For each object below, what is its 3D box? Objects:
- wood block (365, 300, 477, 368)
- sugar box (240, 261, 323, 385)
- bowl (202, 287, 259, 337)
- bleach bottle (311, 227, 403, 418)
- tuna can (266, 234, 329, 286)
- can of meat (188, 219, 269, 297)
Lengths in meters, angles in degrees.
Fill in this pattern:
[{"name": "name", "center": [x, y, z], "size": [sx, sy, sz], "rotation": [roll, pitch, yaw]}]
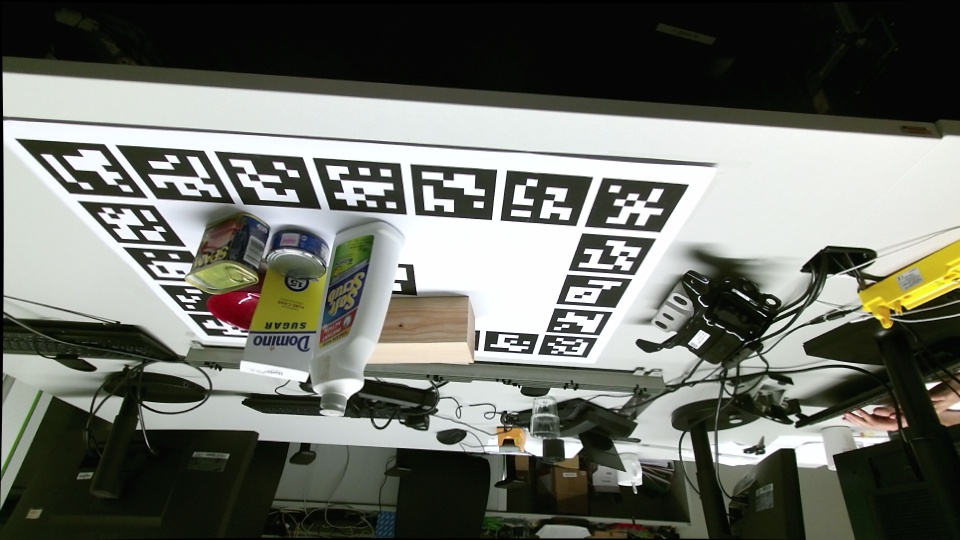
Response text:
[{"name": "wood block", "center": [-0.116, 0.113, 0.934], "size": [0.207, 0.089, 0.091], "rotation": [-1, 143, 8]}, {"name": "sugar box", "center": [-0.292, 0.077, 0.798], "size": [0.093, 0.175, 0.045], "rotation": [12, 145, -21]}, {"name": "bowl", "center": [-0.372, 0.063, 0.900], "size": [0.162, 0.055, 0.162], "rotation": [-1, 148, -1]}, {"name": "bleach bottle", "center": [-0.167, 0.067, 0.709], "size": [0.103, 0.249, 0.068], "rotation": [-12, 146, 21]}, {"name": "tuna can", "center": [-0.264, -0.014, 0.783], "size": [0.086, 0.033, 0.086], "rotation": [1, 145, 1]}, {"name": "can of meat", "center": [-0.349, -0.017, 0.751], "size": [0.102, 0.083, 0.058], "rotation": [-13, 148, 26]}]
